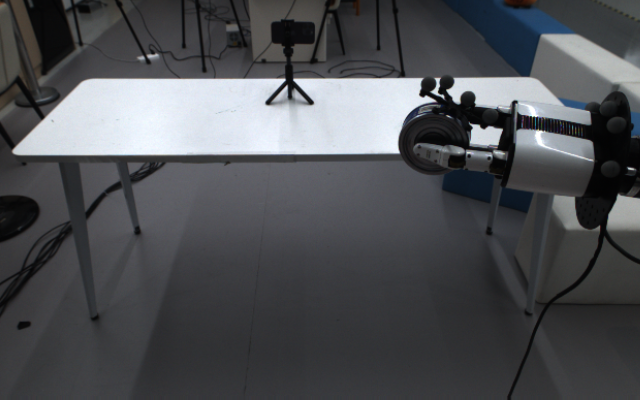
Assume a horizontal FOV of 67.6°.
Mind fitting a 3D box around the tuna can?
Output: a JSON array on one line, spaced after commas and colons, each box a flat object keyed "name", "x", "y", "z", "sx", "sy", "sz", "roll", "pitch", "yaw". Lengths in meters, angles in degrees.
[{"name": "tuna can", "x": 0.142, "y": -0.077, "z": 0.596, "sx": 0.085, "sy": 0.085, "sz": 0.034, "roll": 12, "pitch": 35, "yaw": 14}]
